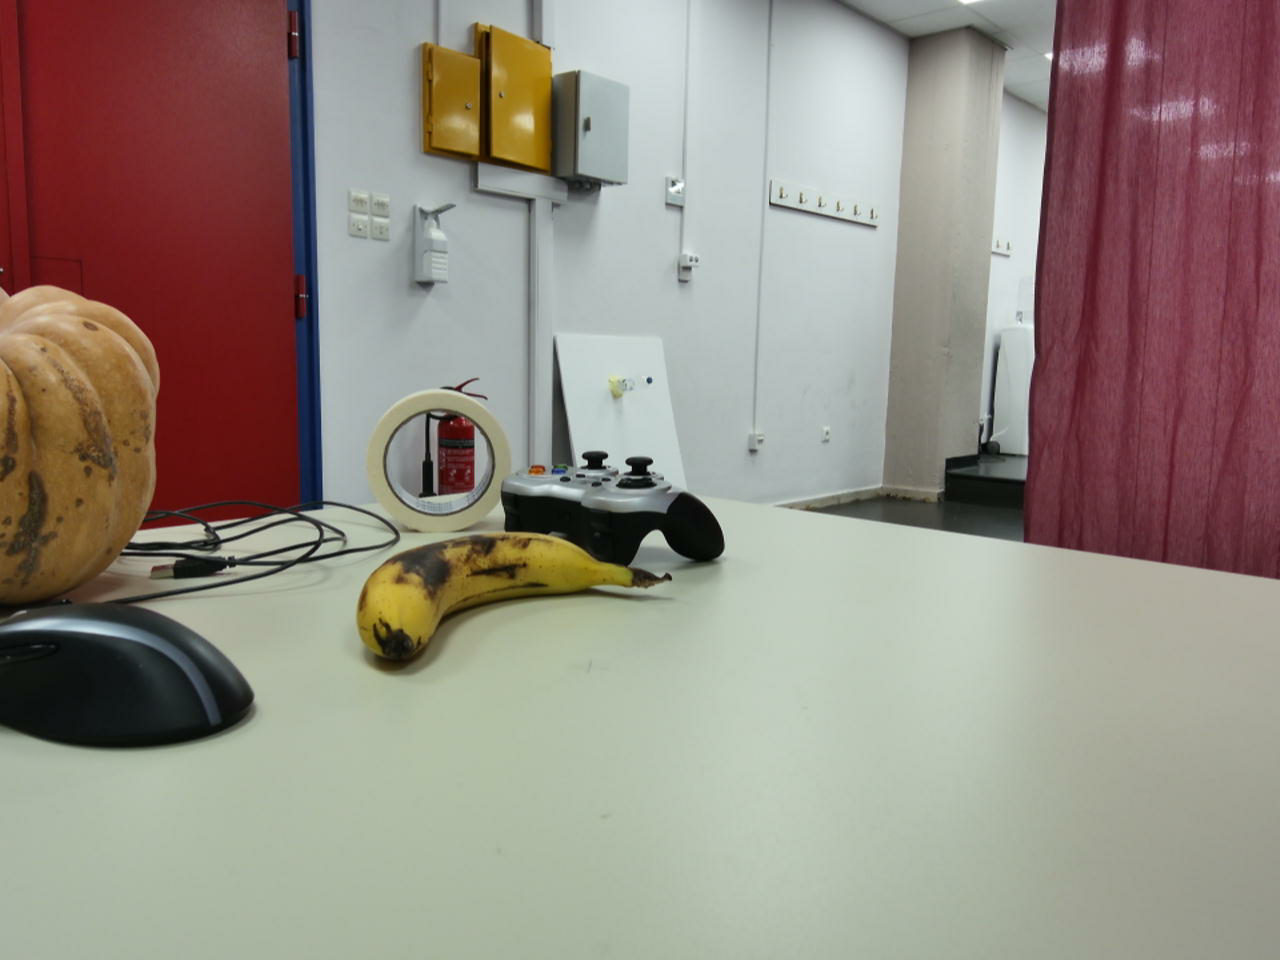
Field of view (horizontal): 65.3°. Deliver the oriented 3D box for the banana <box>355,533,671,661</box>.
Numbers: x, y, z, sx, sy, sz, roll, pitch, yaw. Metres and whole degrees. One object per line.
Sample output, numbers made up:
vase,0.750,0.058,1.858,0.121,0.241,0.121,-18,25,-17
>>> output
banana,-0.081,0.054,0.523,0.094,0.039,0.187,4,8,39
